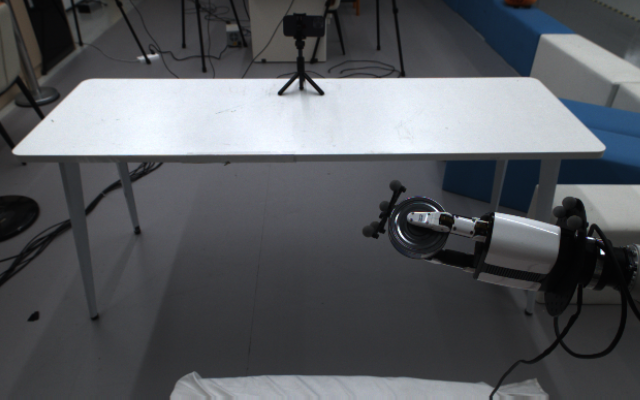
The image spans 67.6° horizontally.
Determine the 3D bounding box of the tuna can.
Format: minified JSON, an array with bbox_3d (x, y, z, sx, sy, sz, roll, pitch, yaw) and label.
[{"bbox_3d":[0.142,0.037,0.684,0.085,0.034,0.085,-2,71,5],"label":"tuna can"}]
